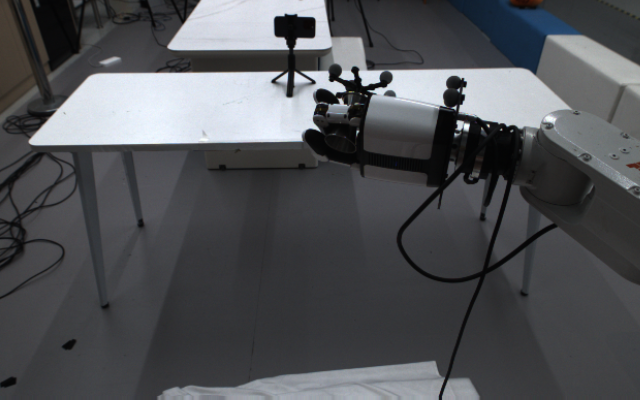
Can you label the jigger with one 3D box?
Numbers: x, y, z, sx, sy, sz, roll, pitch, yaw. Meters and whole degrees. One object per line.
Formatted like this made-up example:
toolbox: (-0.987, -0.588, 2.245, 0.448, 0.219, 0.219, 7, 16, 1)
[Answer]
jigger: (0.040, -0.100, 0.624, 0.043, 0.043, 0.071, 13, 70, 16)
